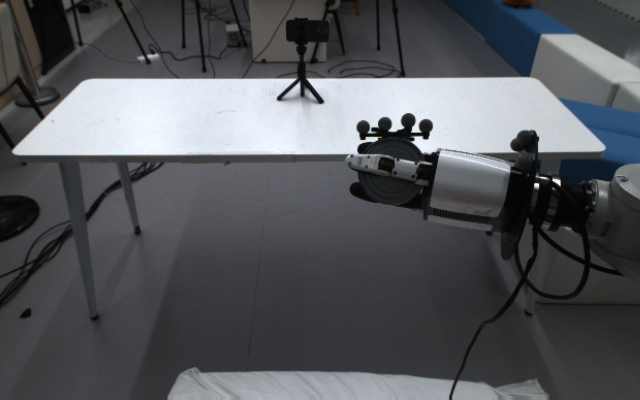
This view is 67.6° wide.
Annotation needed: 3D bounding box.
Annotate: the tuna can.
[{"bbox_3d":[0.093,-0.039,0.616,0.085,0.085,0.034,13,-3,16],"label":"tuna can"}]
